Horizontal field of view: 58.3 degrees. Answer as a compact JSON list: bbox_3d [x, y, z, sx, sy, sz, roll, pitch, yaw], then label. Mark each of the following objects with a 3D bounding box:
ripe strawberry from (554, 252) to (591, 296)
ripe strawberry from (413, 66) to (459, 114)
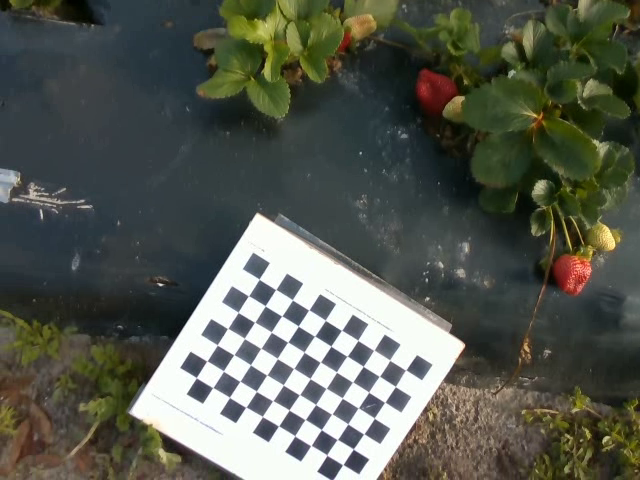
[{"bbox_3d":[0.306,0.044,0.680,0.048,0.050,0.035,12,-1,-4],"label":"ripe strawberry"},{"bbox_3d":[0.148,-0.199,0.748,0.070,0.058,0.057,42,2,-31],"label":"ripe strawberry"}]
